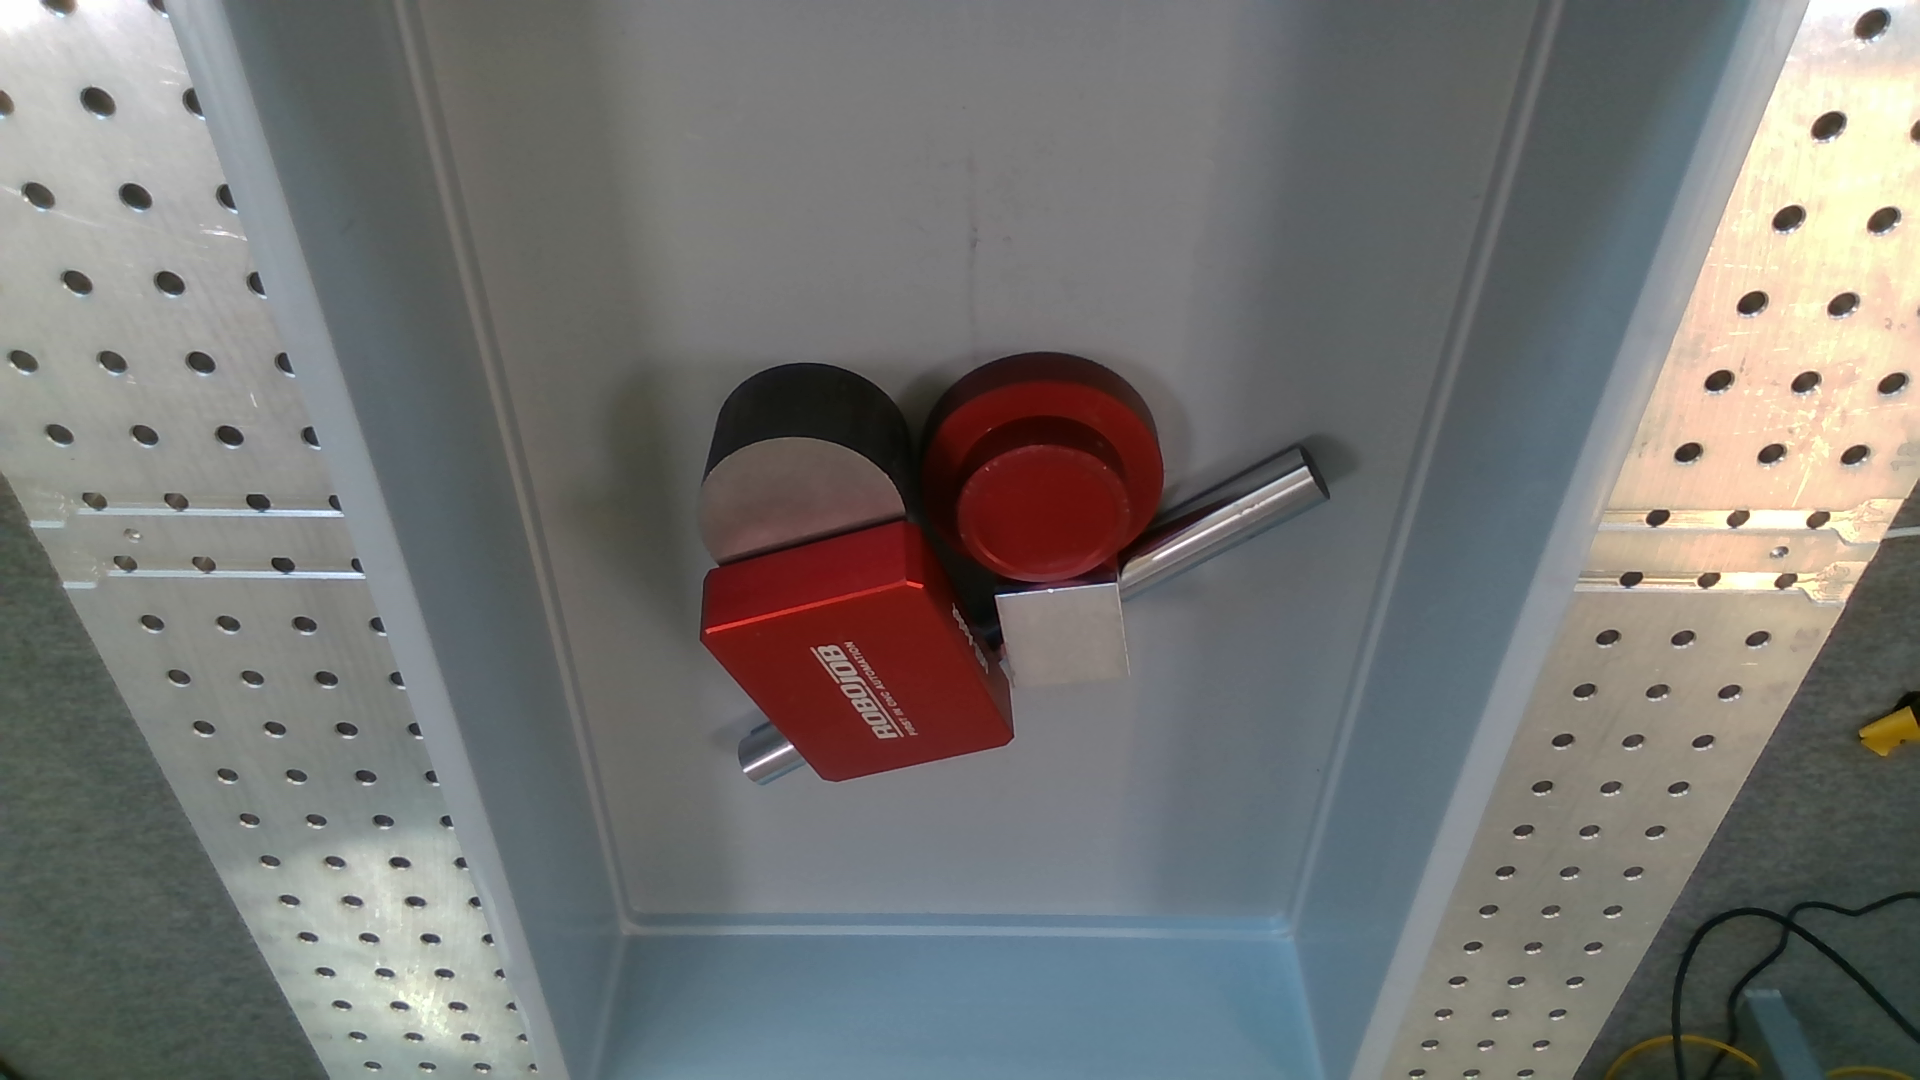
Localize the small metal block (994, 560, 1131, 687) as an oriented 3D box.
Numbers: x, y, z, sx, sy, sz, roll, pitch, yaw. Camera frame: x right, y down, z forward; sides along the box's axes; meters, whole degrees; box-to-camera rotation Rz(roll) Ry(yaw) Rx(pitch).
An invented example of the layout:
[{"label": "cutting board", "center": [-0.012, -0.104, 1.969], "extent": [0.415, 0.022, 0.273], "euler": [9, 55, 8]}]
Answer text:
[{"label": "small metal block", "center": [0.043, 0.032, 0.575], "extent": [0.050, 0.025, 0.050], "euler": [-6, 125, 9]}]

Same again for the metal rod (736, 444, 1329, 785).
[{"label": "metal rod", "center": [0.021, 0.040, 0.612], "extent": [0.300, 0.025, 0.025], "euler": [-29, 124, 22]}]

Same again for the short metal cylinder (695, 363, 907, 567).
[{"label": "short metal cylinder", "center": [-0.061, -0.022, 0.543], "extent": [0.080, 0.050, 0.080], "euler": [0, 130, 0]}]

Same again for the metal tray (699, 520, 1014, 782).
[{"label": "metal tray", "center": [-0.039, 0.050, 0.567], "extent": [0.090, 0.030, 0.130], "euler": [-14, 141, 12]}]

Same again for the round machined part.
[{"label": "round machined part", "center": [0.032, -0.022, 0.548], "extent": [0.098, 0.042, 0.098], "euler": [0, 129, 0]}]
